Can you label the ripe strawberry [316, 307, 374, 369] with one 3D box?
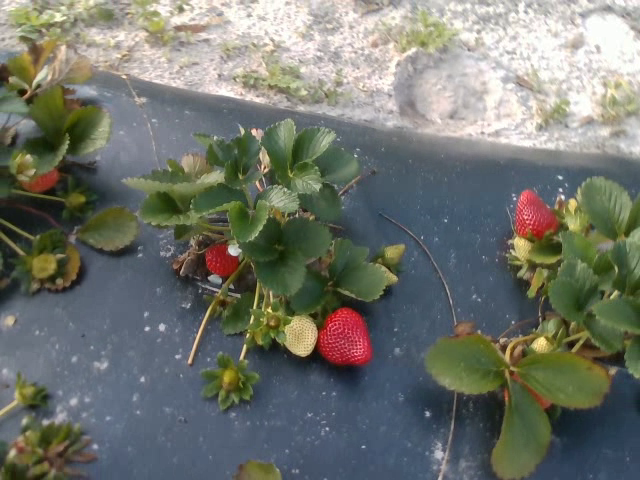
[{"bbox_3d":[0.025,0.088,0.524,0.048,0.051,0.055,28,11,-35],"label":"ripe strawberry"}]
